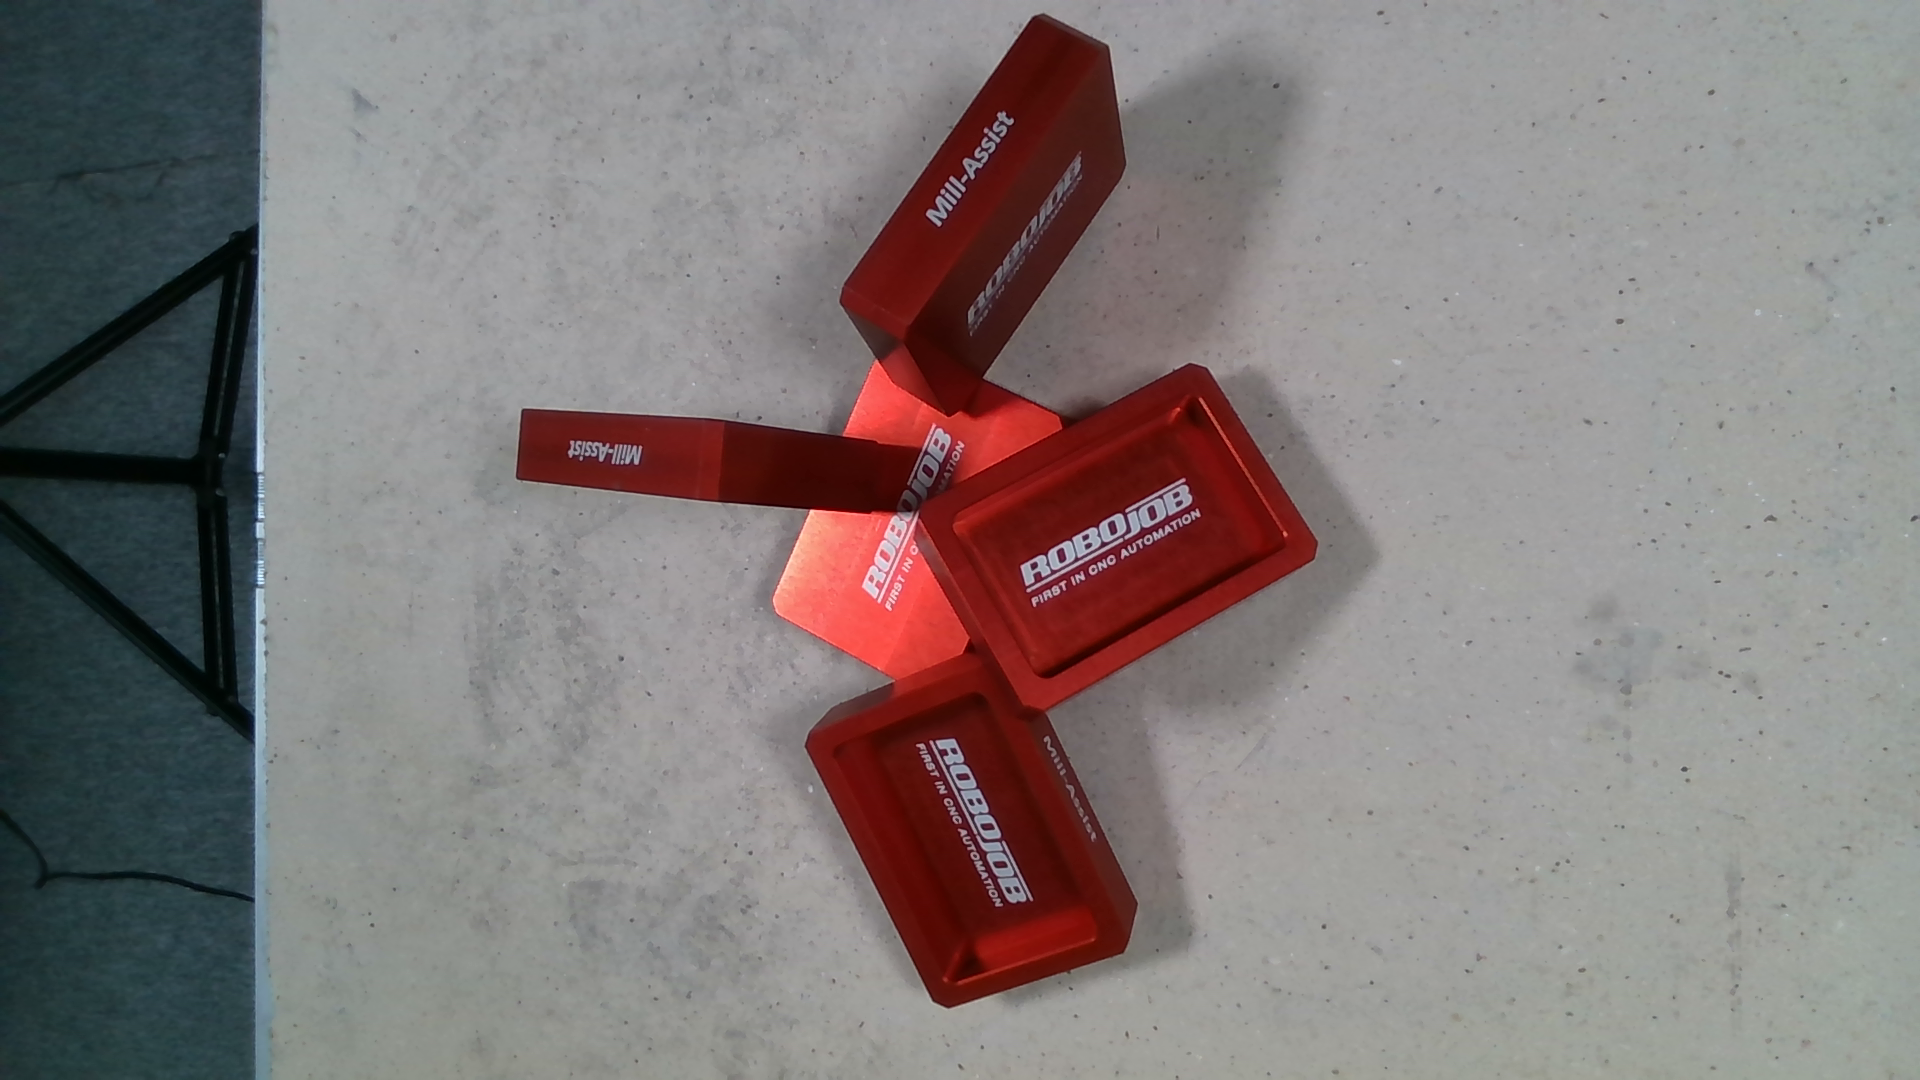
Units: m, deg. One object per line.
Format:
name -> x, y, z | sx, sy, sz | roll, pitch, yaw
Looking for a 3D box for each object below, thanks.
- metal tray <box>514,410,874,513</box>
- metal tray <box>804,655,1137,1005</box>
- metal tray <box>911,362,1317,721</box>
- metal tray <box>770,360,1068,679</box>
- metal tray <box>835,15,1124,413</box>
metal tray -> -0.111, -0.033, 0.571 | 0.130, 0.090, 0.030 | 7, 92, 41
metal tray -> 0.005, 0.117, 0.565 | 0.090, 0.030, 0.130 | -23, 97, 19
metal tray -> 0.058, 0.000, 0.530 | 0.130, 0.030, 0.090 | -28, 80, -11
metal tray -> -0.016, -0.010, 0.588 | 0.090, 0.030, 0.130 | 27, 100, 18
metal tray -> 0.012, -0.121, 0.529 | 0.030, 0.090, 0.130 | 33, 85, 17
